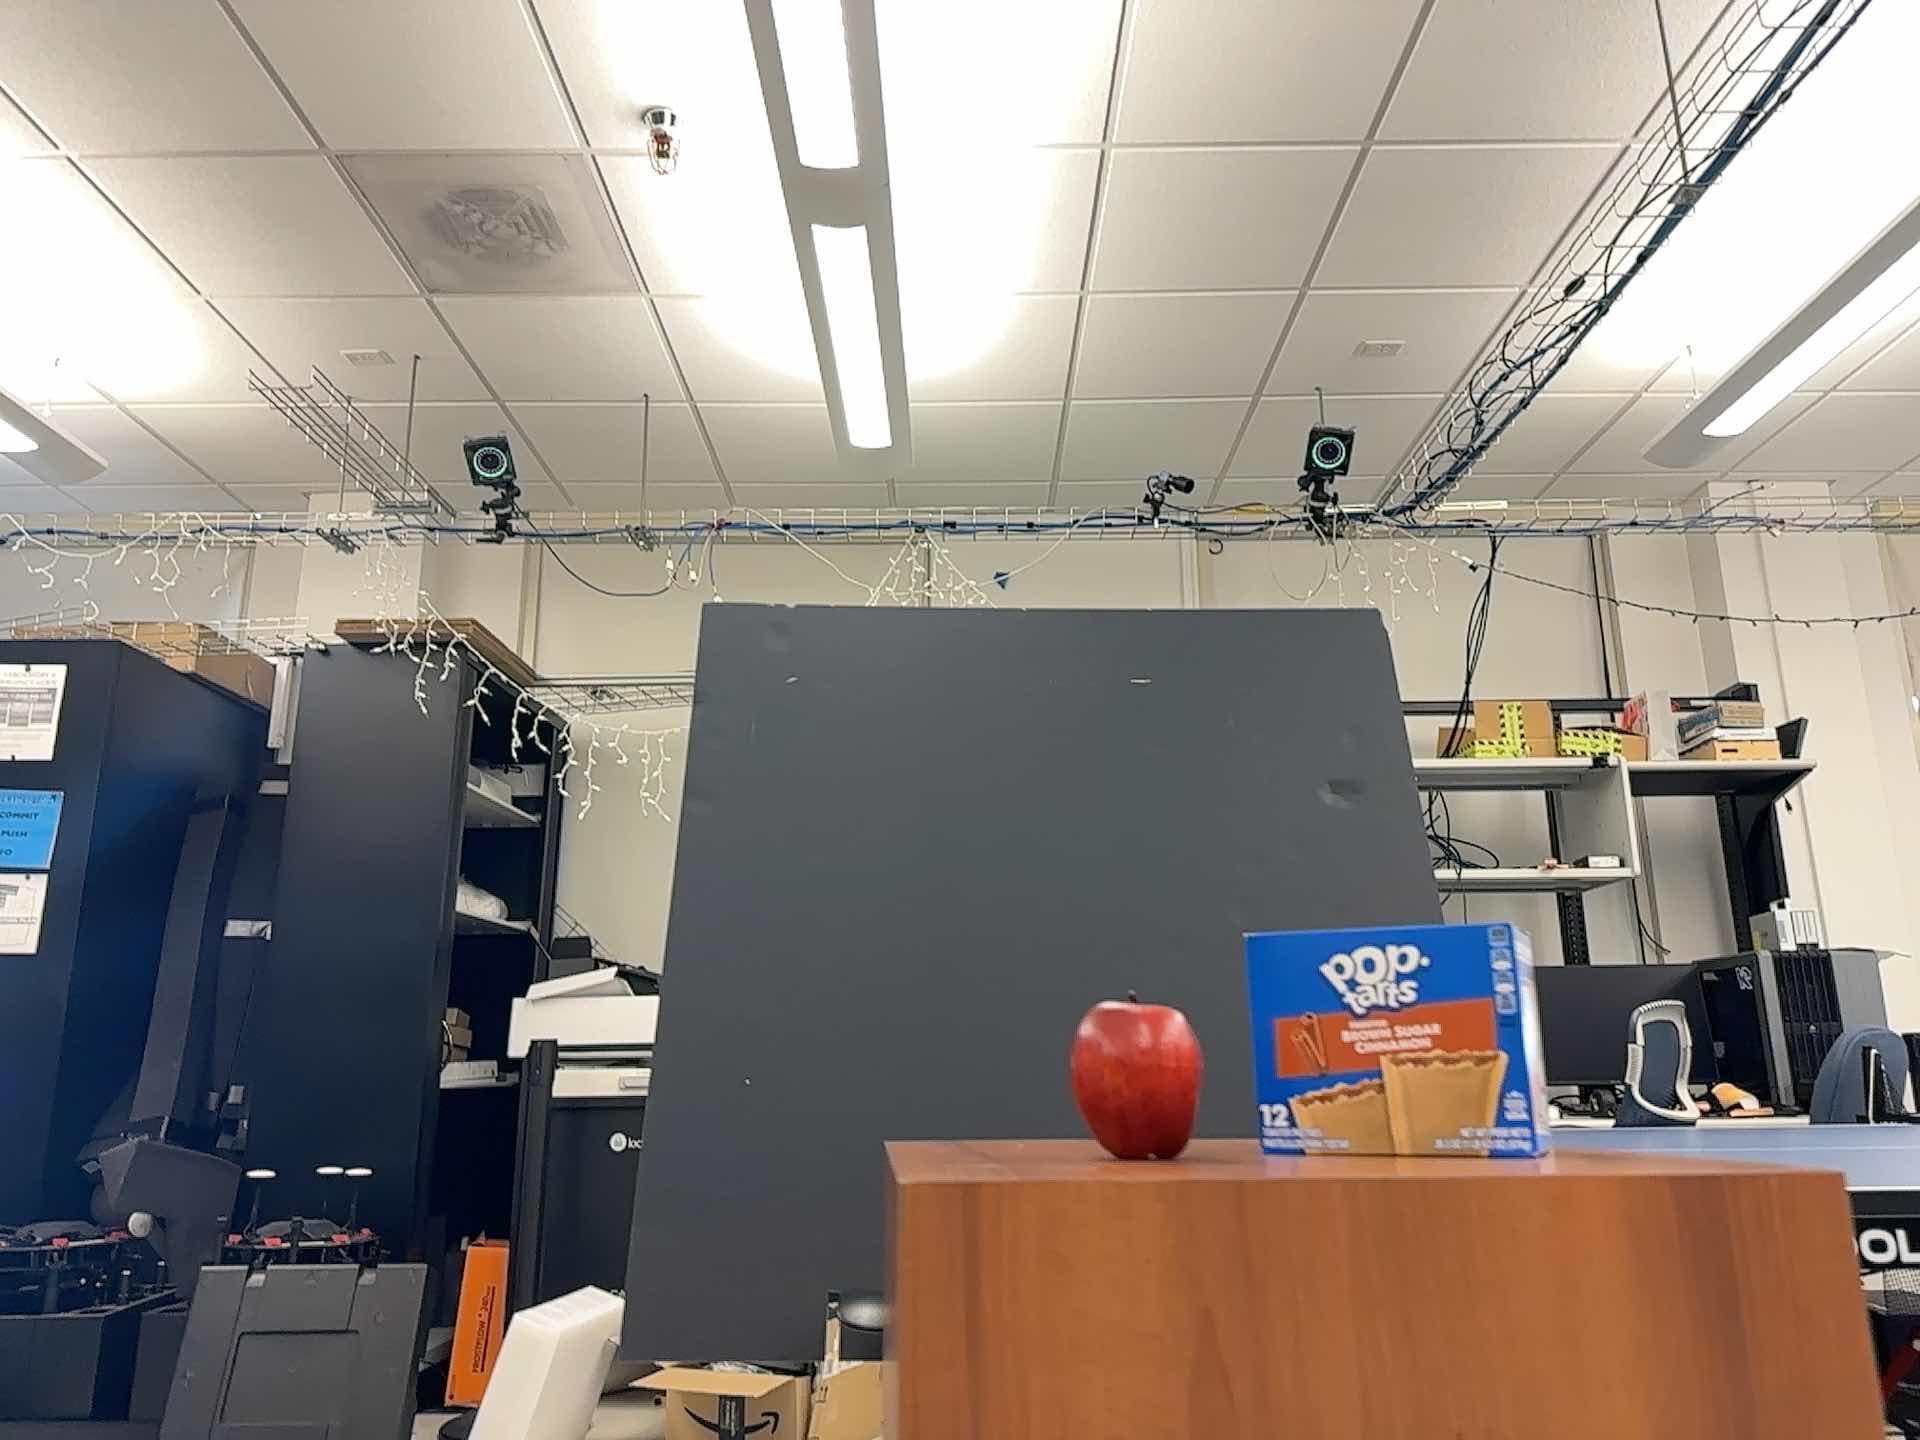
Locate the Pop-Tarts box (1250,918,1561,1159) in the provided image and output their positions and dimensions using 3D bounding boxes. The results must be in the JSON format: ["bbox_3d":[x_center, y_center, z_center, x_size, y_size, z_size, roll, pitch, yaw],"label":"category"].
[{"bbox_3d":[0.282,0.205,0.858,0.161,0.135,0.075,-8,-17,27],"label":"Pop-Tarts box"}]

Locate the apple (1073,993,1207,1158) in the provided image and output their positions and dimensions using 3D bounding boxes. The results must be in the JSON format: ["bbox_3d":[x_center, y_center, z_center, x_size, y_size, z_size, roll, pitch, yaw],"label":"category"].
[{"bbox_3d":[0.106,0.209,0.793,0.079,0.093,0.079,1,-14,0],"label":"apple"}]
